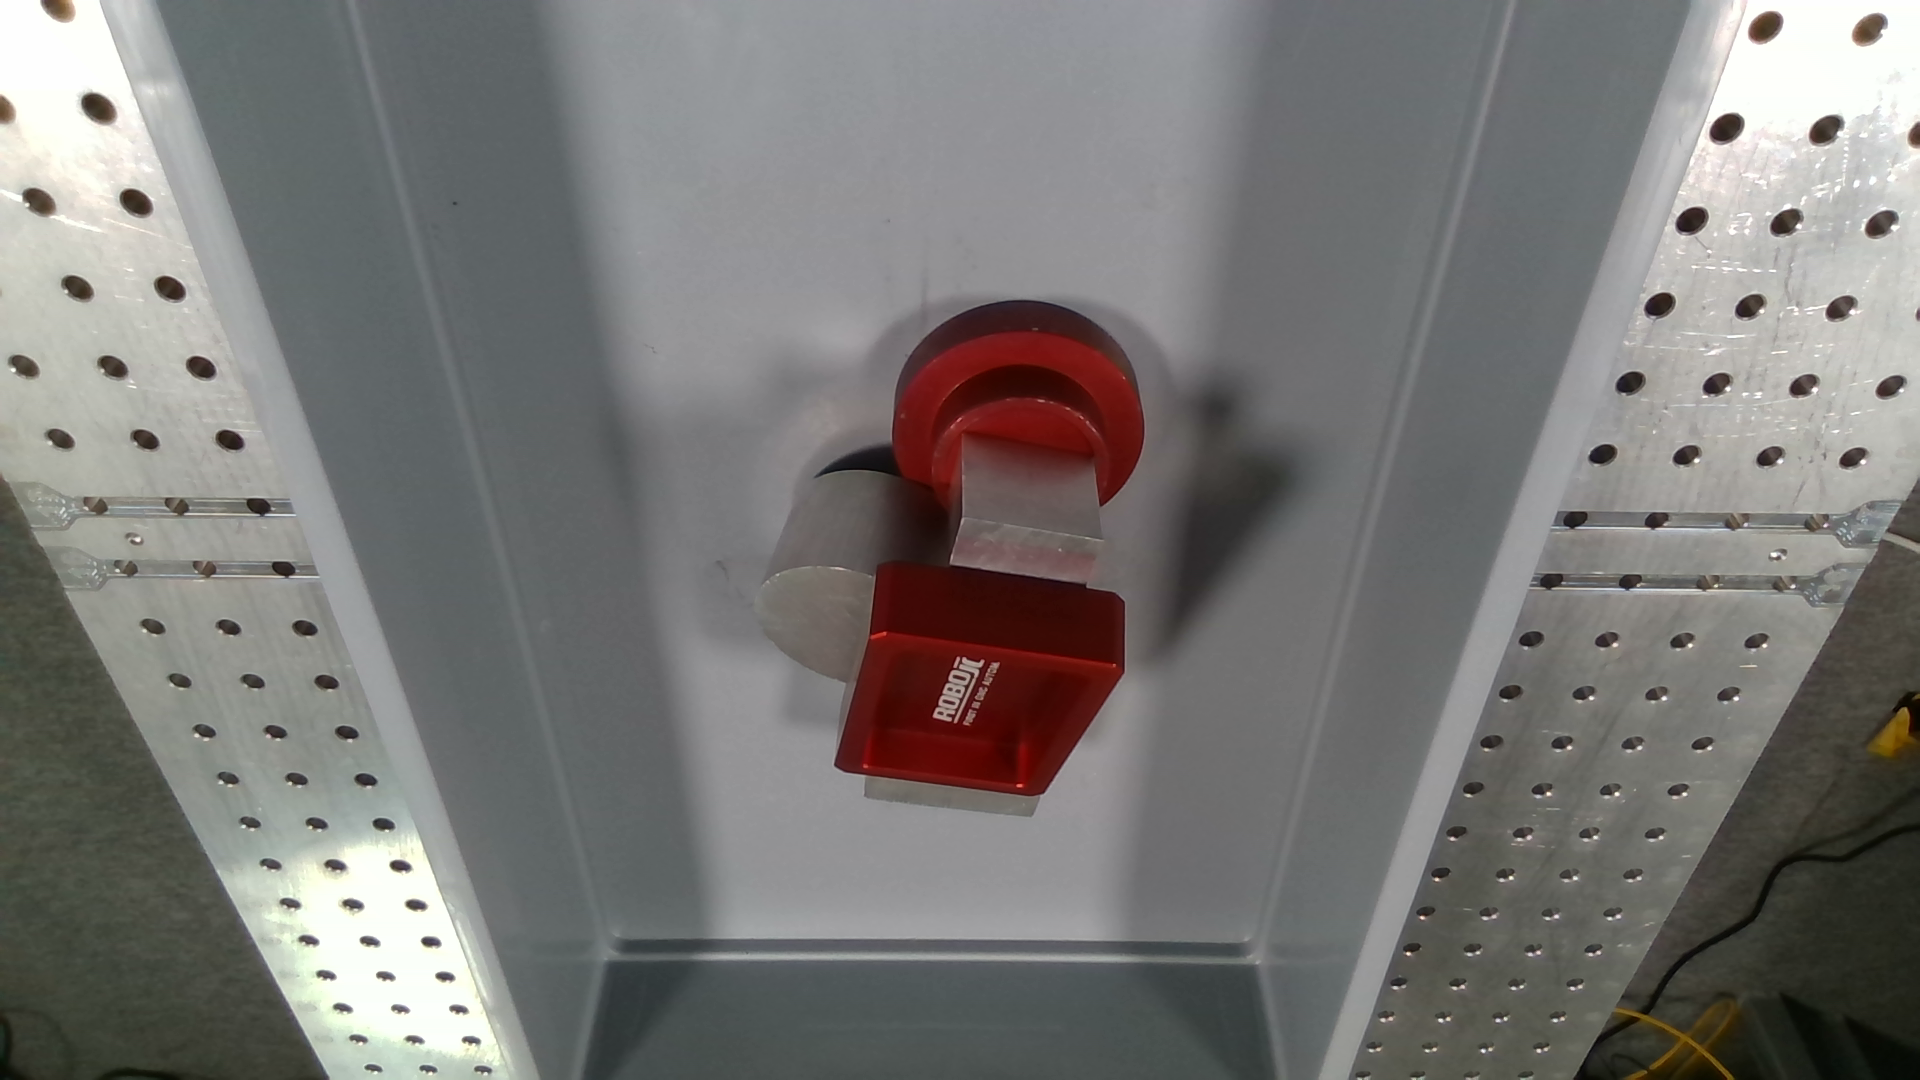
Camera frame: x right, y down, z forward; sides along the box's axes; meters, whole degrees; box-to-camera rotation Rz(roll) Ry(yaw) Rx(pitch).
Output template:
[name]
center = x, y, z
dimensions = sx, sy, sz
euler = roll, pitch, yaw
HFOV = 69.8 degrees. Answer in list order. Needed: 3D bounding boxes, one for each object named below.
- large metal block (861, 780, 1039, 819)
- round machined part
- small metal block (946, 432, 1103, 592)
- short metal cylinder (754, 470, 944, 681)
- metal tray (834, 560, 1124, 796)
[large metal block]
center = 0.001, 0.077, 0.625
dimensions = 0.080, 0.050, 0.080
euler = 8, 130, -6
[round machined part]
center = 0.022, -0.039, 0.533
dimensions = 0.098, 0.042, 0.098
euler = 0, 130, 0
[small metal block]
center = 0.022, -0.010, 0.498
dimensions = 0.050, 0.050, 0.025
euler = 9, 129, -8
[short metal cylinder]
center = -0.037, 0.017, 0.560
dimensions = 0.080, 0.050, 0.080
euler = 10, 143, 8
[metal tray]
center = 0.003, 0.058, 0.531
dimensions = 0.090, 0.030, 0.130
euler = 8, 149, -7
